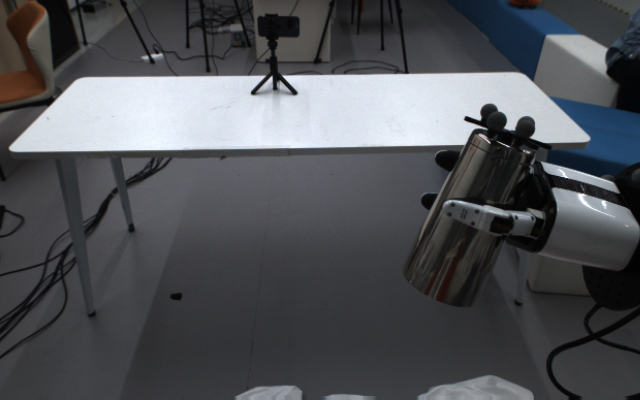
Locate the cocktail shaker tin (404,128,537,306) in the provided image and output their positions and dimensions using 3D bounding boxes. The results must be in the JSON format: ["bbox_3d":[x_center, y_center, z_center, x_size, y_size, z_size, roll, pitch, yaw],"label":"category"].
[{"bbox_3d":[0.162,0.016,0.516,0.093,0.170,0.093,16,21,-6],"label":"cocktail shaker tin"}]
